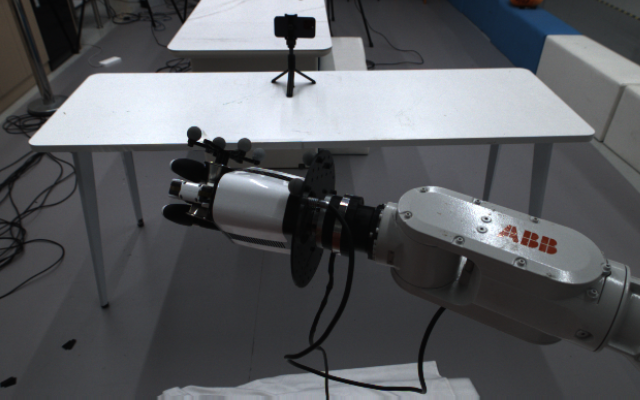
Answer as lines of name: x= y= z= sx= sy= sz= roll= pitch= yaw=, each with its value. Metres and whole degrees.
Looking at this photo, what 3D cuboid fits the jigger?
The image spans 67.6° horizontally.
jigger: x=-0.130 y=-0.009 z=0.585 sx=0.043 sy=0.071 sz=0.043 roll=15 pitch=-7 yaw=2
